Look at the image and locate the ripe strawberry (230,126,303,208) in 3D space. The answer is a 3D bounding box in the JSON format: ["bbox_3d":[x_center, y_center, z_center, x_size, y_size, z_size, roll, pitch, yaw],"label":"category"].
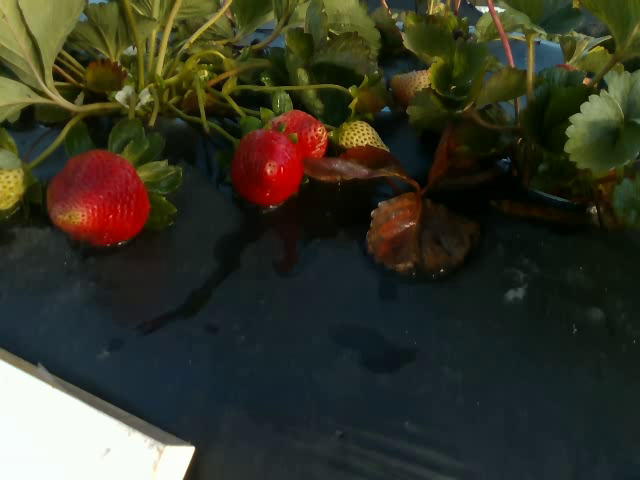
[{"bbox_3d":[-0.028,-0.035,0.305,0.045,0.042,0.055,-43,13,-2],"label":"ripe strawberry"}]

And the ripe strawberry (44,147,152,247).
[{"bbox_3d":[-0.109,-0.020,0.278,0.050,0.050,0.065,-22,10,9],"label":"ripe strawberry"}]
